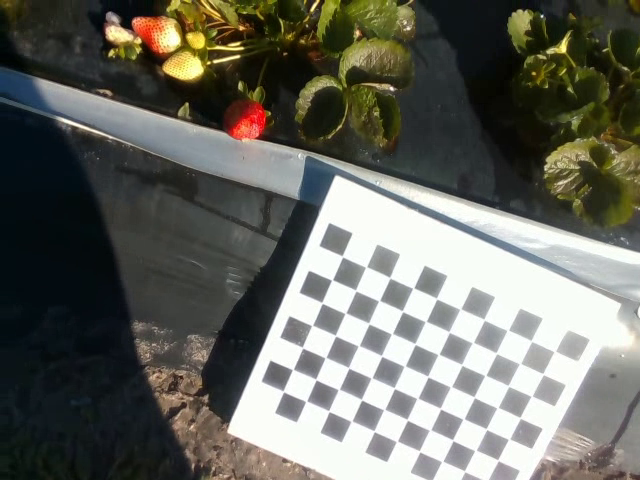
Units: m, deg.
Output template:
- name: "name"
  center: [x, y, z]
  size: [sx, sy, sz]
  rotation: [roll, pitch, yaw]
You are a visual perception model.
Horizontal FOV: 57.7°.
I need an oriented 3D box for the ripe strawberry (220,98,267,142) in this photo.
- name: "ripe strawberry"
  center: [-0.057, -0.084, 0.414]
  size: [0.036, 0.038, 0.046]
  rotation: [22, 24, -1]
